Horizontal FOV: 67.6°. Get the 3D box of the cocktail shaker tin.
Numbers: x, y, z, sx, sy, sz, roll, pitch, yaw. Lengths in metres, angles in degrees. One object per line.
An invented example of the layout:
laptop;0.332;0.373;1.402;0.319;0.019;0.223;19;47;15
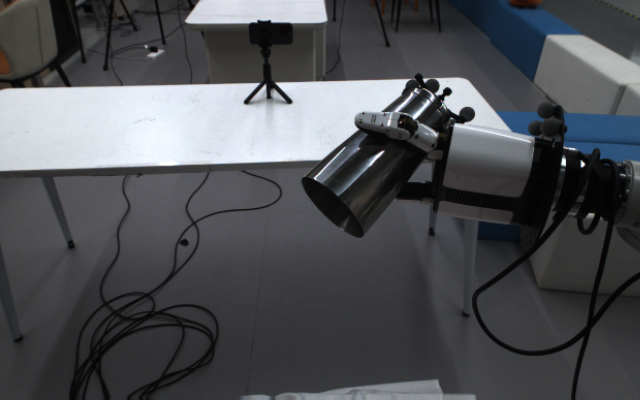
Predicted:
cocktail shaker tin;0.072;-0.054;0.549;0.170;0.093;0.093;-43;51;-15
